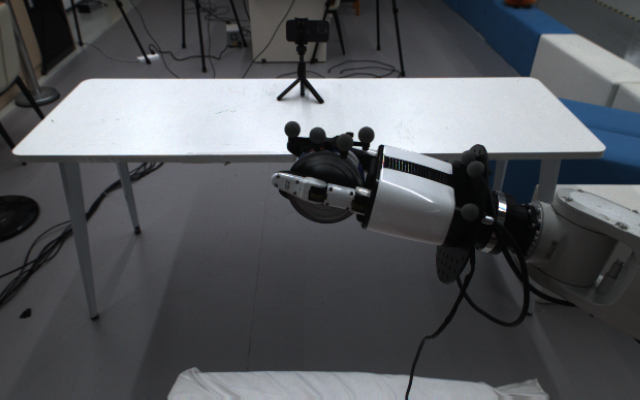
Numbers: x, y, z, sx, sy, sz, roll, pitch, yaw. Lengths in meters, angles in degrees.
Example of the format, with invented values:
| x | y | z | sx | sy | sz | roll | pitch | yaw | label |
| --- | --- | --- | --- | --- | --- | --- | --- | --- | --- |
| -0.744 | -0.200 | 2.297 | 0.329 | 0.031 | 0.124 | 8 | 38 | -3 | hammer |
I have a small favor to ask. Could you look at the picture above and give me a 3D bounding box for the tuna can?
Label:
| x | y | z | sx | sy | sz | roll | pitch | yaw | label |
| --- | --- | --- | --- | --- | --- | --- | --- | --- | --- |
| 0.010 | -0.014 | 0.539 | 0.085 | 0.085 | 0.034 | 6 | 22 | 6 | tuna can |
